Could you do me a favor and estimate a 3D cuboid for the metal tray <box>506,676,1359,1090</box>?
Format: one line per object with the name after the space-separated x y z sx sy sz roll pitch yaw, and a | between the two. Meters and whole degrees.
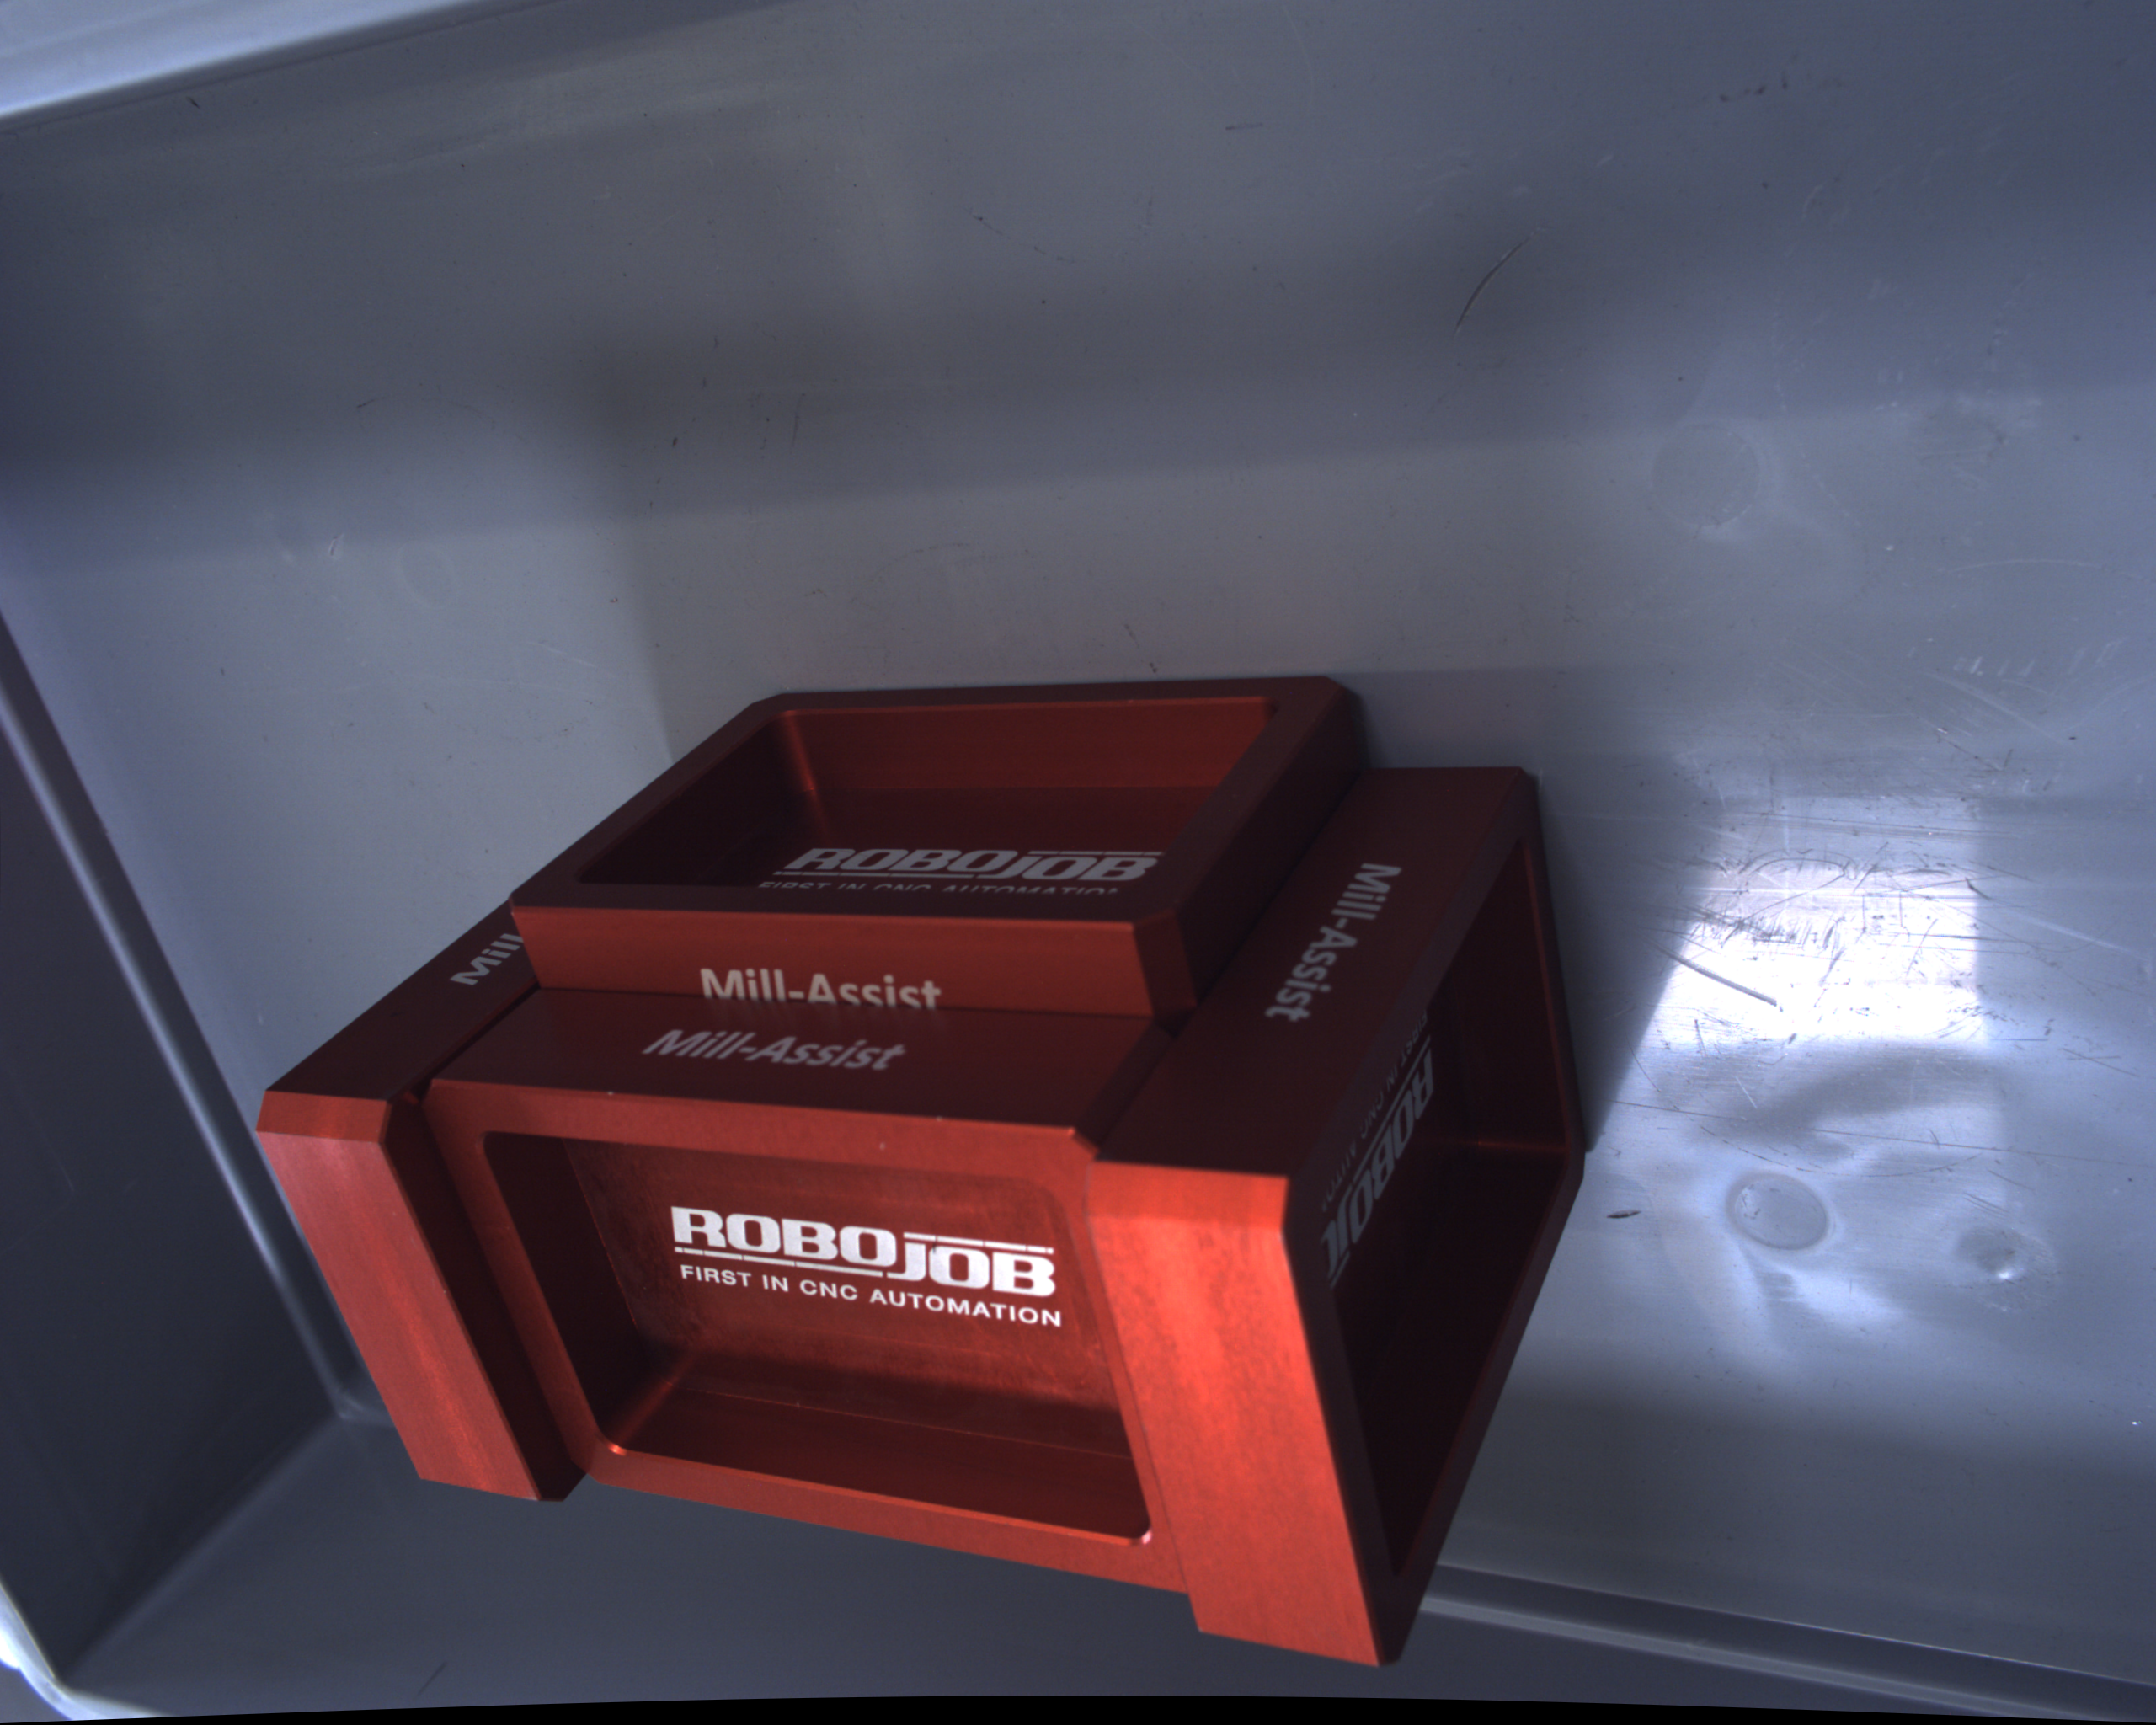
-0.024 0.000 0.376 0.130 0.090 0.030 1 119 28 | metal tray

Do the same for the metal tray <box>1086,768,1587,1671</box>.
0.050 0.051 0.343 0.030 0.131 0.089 1 119 28 | metal tray

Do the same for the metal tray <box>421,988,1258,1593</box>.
-0.039 0.069 0.350 0.130 0.030 0.089 1 119 27 | metal tray

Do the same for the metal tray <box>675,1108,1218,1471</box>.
-0.005 0.079 0.414 0.130 0.090 0.030 0 118 28 | metal tray

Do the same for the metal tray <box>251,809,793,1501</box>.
-0.093 0.050 0.419 0.030 0.131 0.089 1 119 28 | metal tray
